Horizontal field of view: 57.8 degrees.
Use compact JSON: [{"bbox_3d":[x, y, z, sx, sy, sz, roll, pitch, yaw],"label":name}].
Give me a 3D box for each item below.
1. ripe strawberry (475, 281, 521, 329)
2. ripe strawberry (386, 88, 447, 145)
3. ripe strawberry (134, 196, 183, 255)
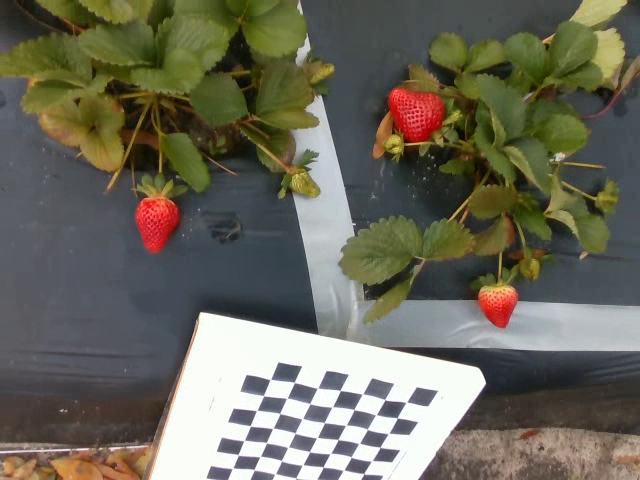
[{"bbox_3d":[0.162,0.055,0.527,0.039,0.046,0.041,-10,27,14],"label":"ripe strawberry"},{"bbox_3d":[0.080,-0.108,0.479,0.062,0.043,0.043,36,30,-16],"label":"ripe strawberry"},{"bbox_3d":[-0.119,-0.014,0.423,0.036,0.046,0.040,7,-12,3],"label":"ripe strawberry"}]
